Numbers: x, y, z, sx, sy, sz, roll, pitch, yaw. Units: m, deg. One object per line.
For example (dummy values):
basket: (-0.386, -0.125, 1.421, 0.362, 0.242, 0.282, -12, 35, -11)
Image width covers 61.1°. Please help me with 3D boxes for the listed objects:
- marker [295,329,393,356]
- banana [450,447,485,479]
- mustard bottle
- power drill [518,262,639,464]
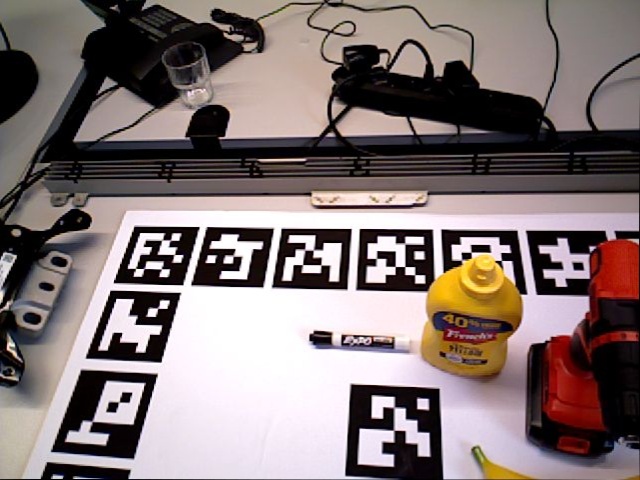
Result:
marker: (0.028, 0.125, 0.669, 0.121, 0.020, 0.019, 5, 56, 11)
banana: (0.224, 0.265, 0.536, 0.198, 0.039, 0.073, 9, 58, 16)
mustard bottle: (0.144, 0.089, 0.572, 0.096, 0.195, 0.057, 14, 56, 14)
power drill: (0.238, 0.138, 0.504, 0.057, 0.190, 0.181, 16, 55, 15)
